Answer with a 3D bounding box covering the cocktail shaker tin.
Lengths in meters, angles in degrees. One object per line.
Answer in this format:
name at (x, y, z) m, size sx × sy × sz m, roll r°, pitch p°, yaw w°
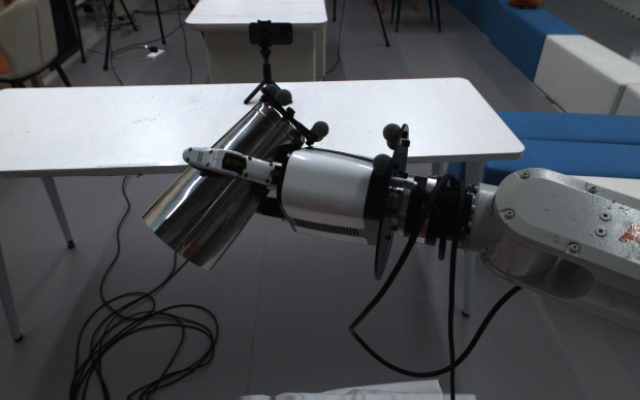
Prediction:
cocktail shaker tin at (-0.094, -0.022, 0.517) m, size 0.170 × 0.093 × 0.093 m, roll -48°, pitch 49°, yaw -4°
